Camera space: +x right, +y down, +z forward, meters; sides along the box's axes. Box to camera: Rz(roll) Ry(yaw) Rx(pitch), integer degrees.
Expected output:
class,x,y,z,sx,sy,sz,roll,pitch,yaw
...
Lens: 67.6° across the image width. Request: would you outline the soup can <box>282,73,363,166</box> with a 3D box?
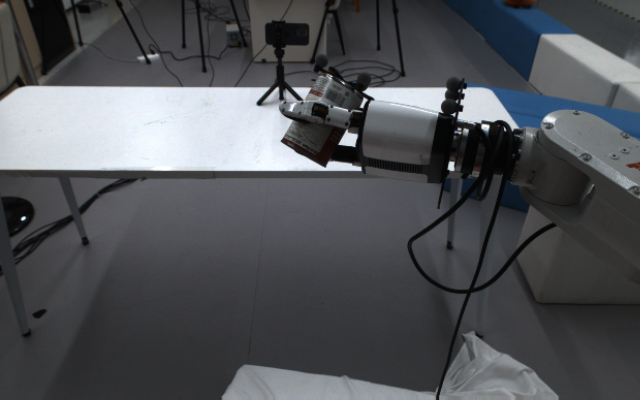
class,x,y,z,sx,sy,sz,roll,pitch,yaw
soup can,0.003,-0.103,0.626,0.067,0.101,0.067,30,2,-1
